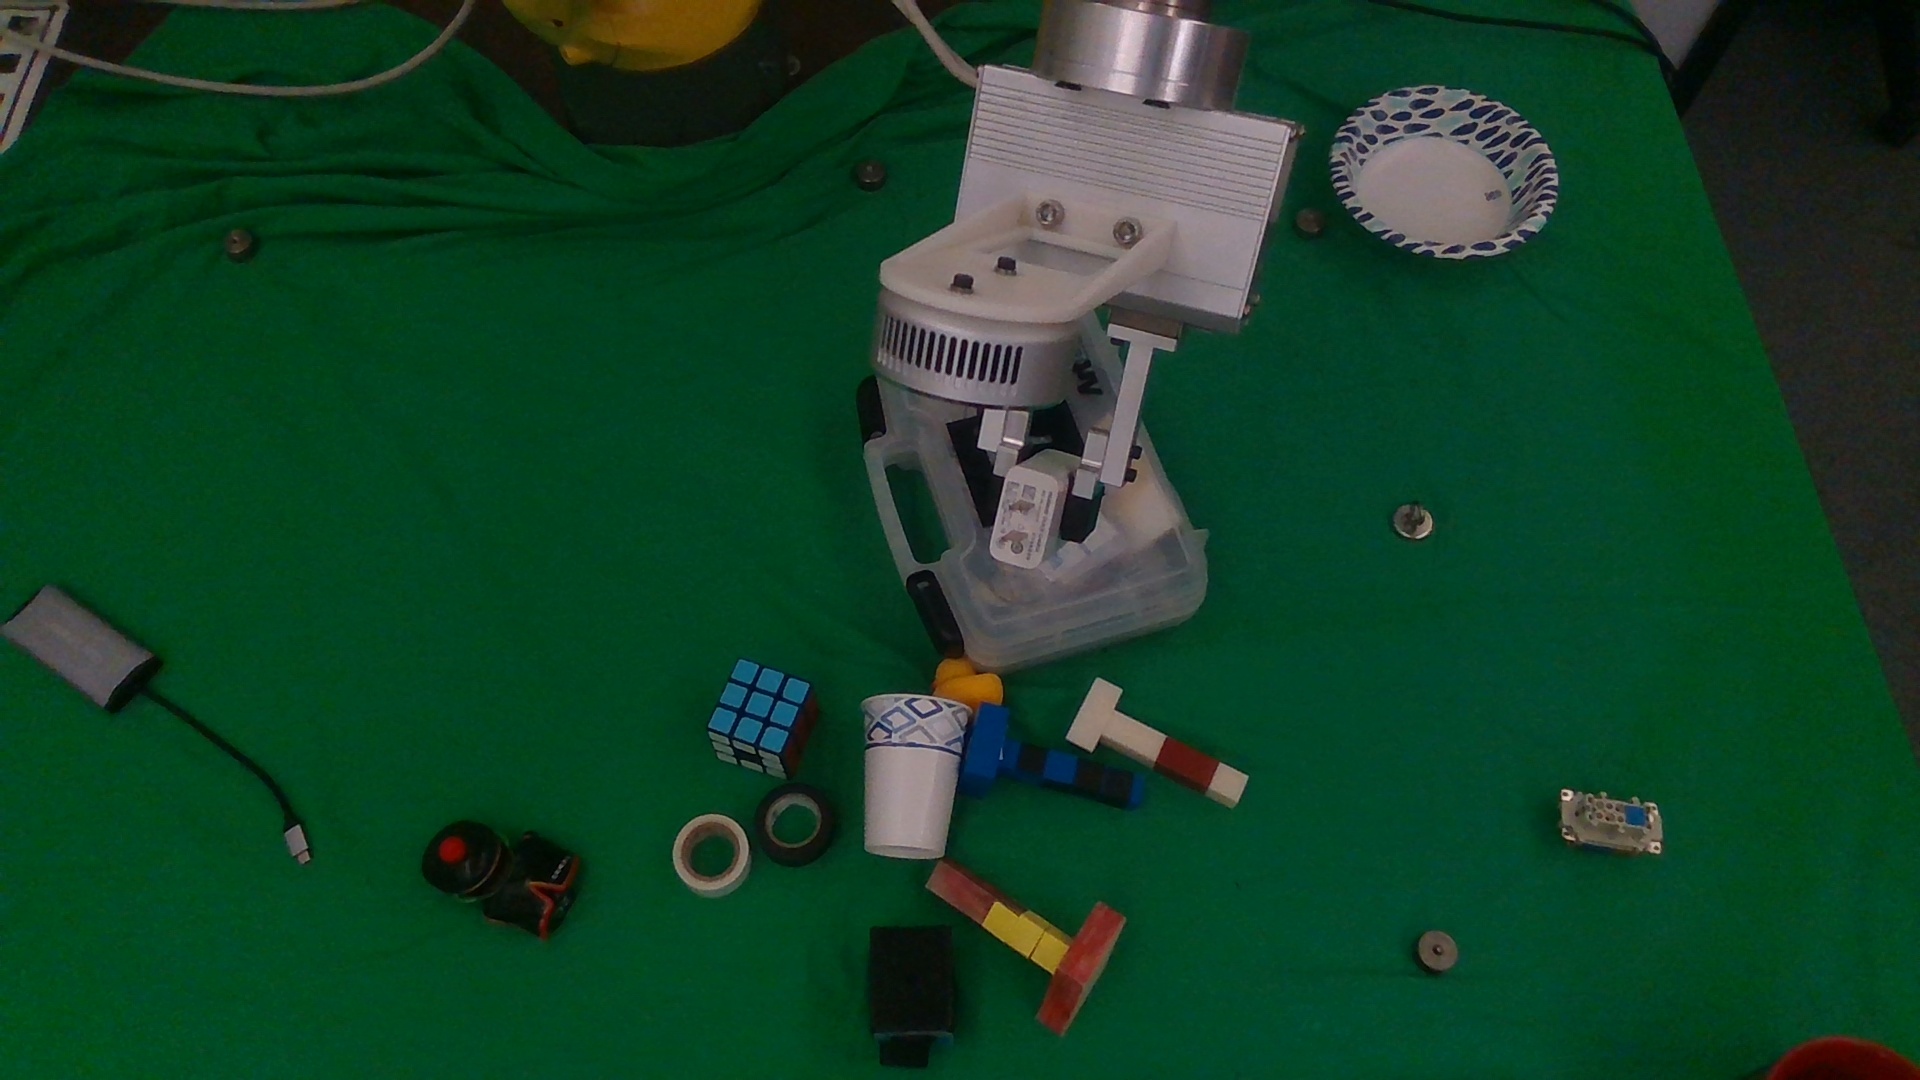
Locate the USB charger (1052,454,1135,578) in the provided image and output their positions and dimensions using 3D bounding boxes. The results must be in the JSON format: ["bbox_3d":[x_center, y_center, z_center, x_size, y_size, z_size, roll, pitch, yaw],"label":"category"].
[{"bbox_3d":[0.052,-0.010,0.547,0.029,0.075,0.044,7,98,11],"label":"USB charger"}]

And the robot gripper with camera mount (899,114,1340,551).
[{"bbox_3d":[0.041,-0.055,0.472,0.119,0.158,0.193,15,21,18],"label":"robot gripper with camera mount"}]
